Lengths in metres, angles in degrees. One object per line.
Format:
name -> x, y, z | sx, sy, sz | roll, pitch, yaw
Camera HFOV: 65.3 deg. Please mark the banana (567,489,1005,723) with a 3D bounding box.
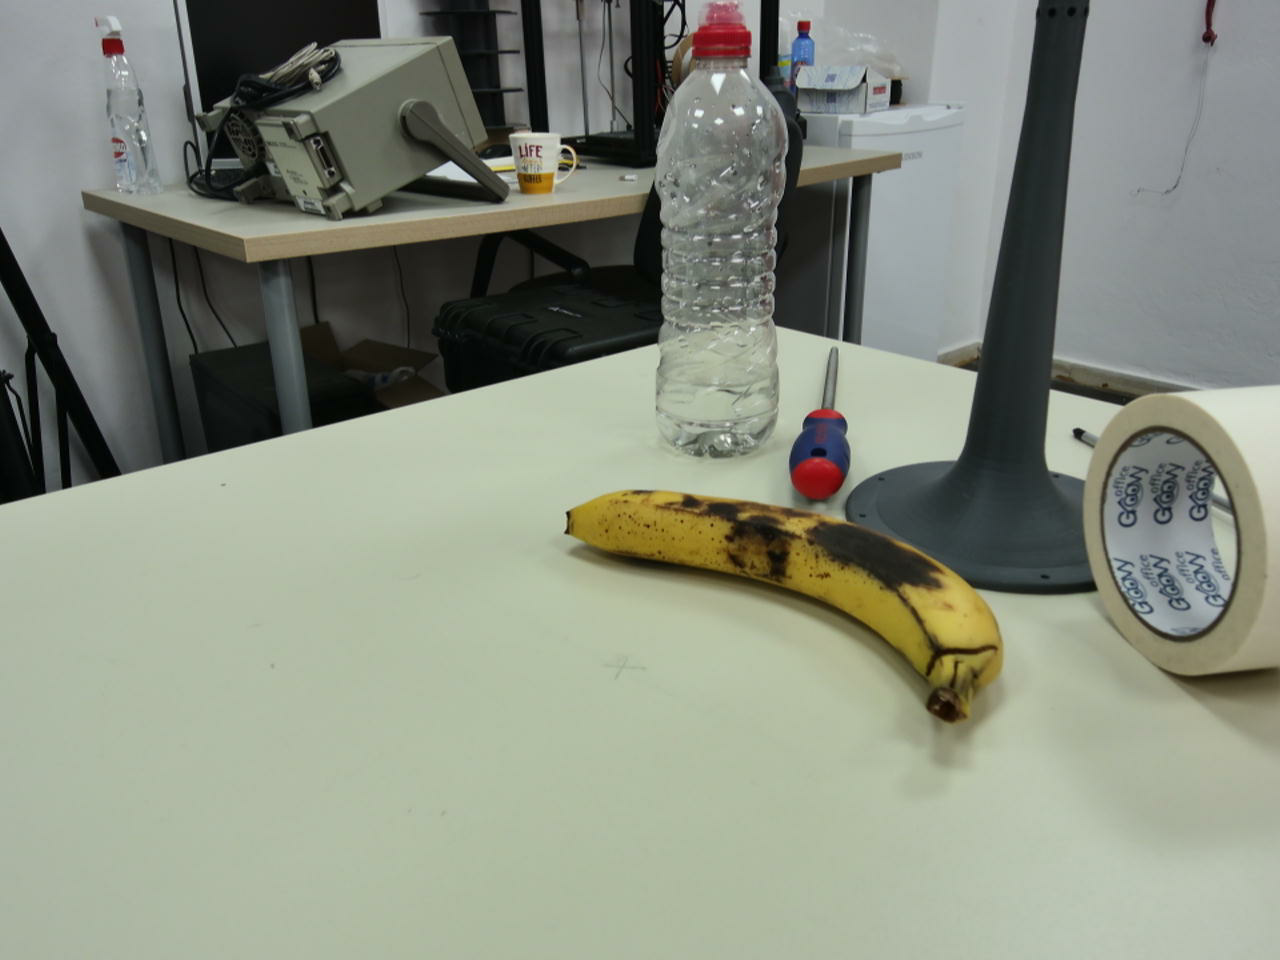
banana -> 0.064, 0.039, 0.431 | 0.084, 0.037, 0.222 | -17, 27, -35
